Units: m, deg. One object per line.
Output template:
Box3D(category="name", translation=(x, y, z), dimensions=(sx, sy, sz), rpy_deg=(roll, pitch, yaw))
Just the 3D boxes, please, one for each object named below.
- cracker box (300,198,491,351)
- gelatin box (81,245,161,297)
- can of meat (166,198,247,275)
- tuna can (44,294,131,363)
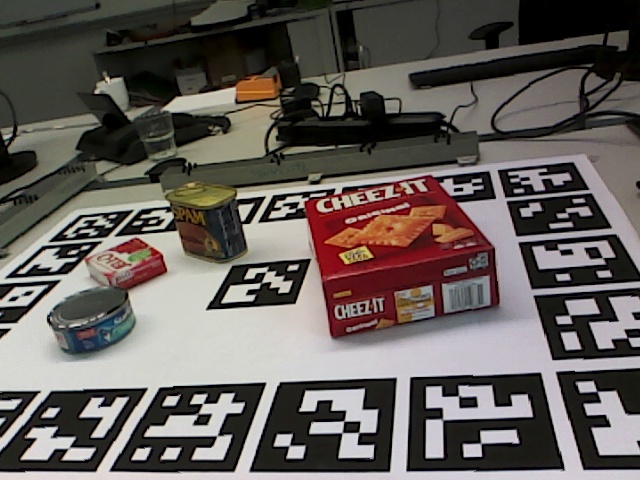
Box3D(category="cracker box", translation=(0.070, 0.026, 0.681), dimensions=(0.164, 0.072, 0.214), rpy_deg=(-10, 23, -3))
Box3D(category="gelatin box", translation=(-0.264, 0.041, 0.819), dimensions=(0.073, 0.030, 0.090), rpy_deg=(-23, 30, -32))
Box3D(category="can of meat", translation=(-0.150, -0.005, 0.827), dimensions=(0.102, 0.083, 0.057), rpy_deg=(10, 31, 40))
Box3D(category="tuna can", translation=(-0.255, 0.097, 0.683), dimensions=(0.086, 0.033, 0.086), rpy_deg=(-10, 27, 5))
